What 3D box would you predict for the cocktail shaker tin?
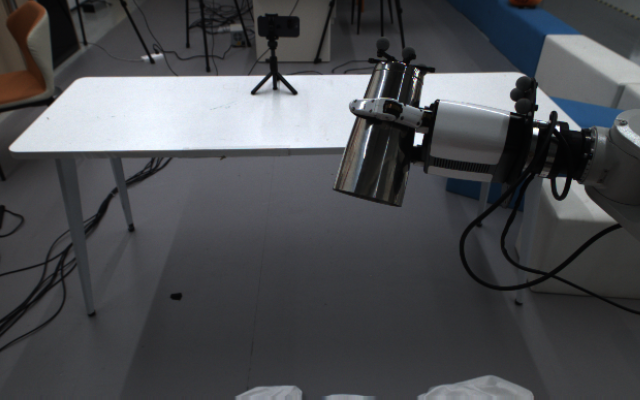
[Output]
[{"bbox_3d":[0.083,-0.084,0.623,0.093,0.170,0.093,14,-2,0],"label":"cocktail shaker tin"}]
